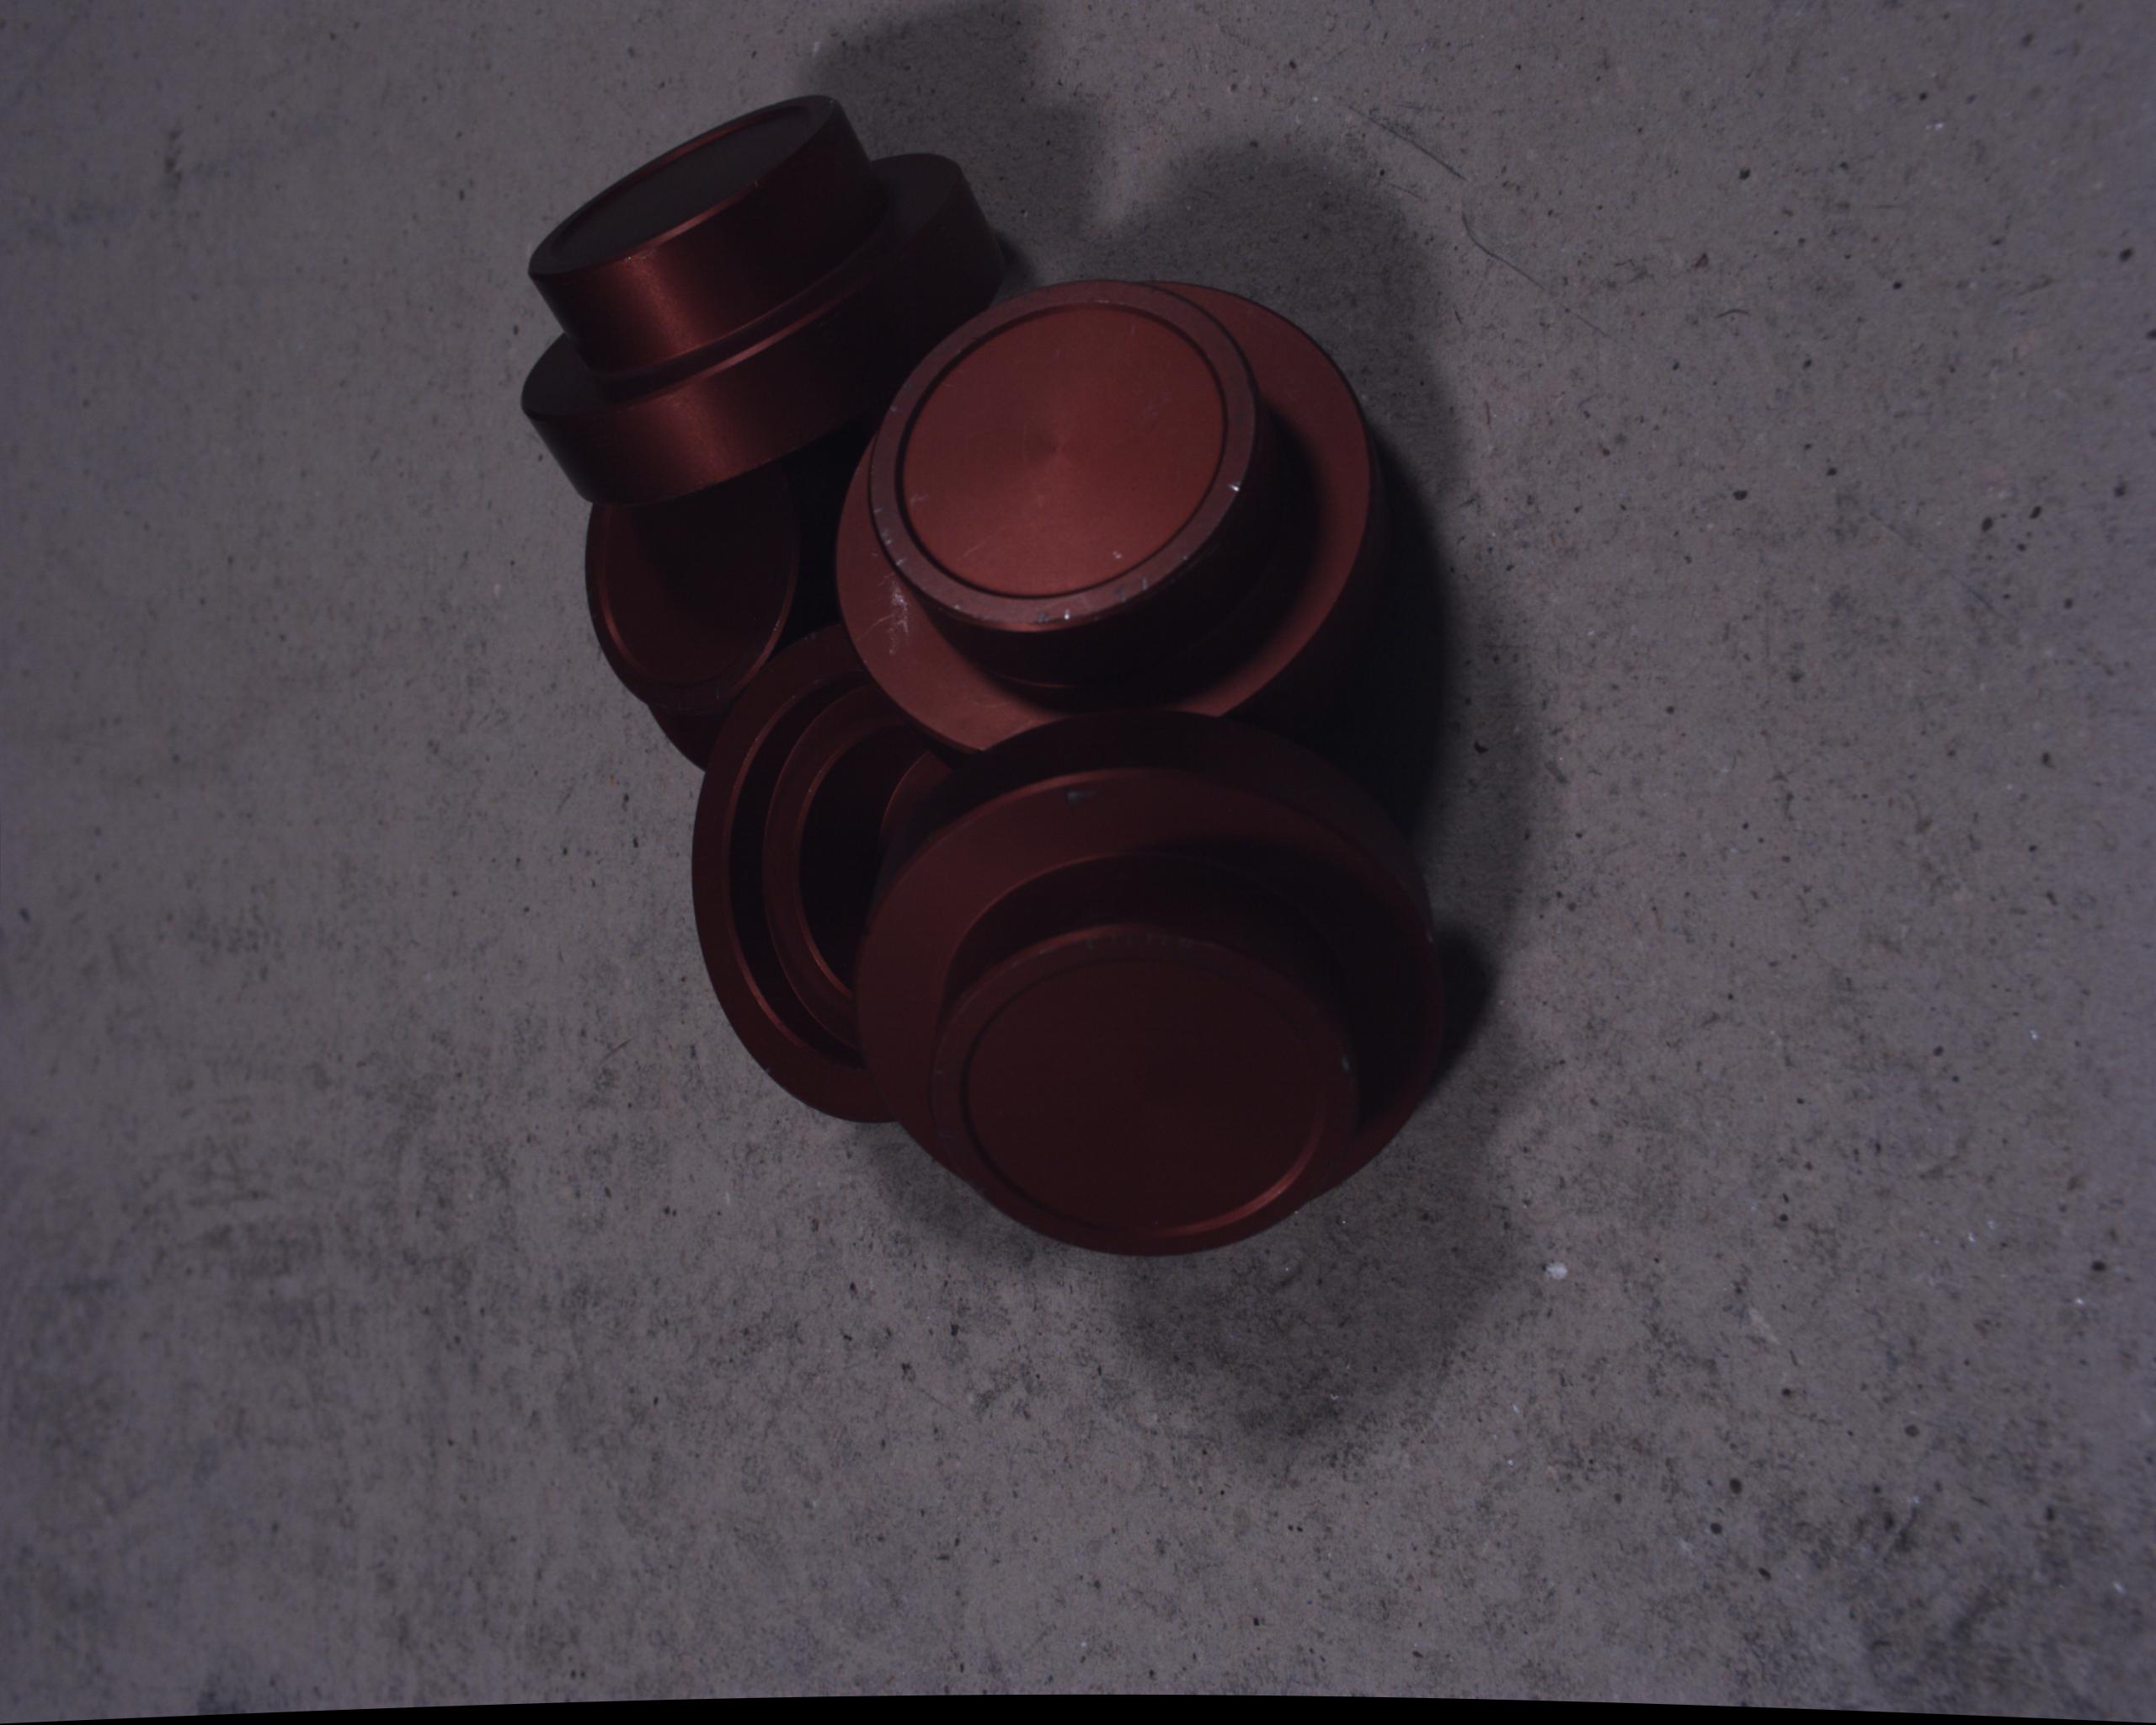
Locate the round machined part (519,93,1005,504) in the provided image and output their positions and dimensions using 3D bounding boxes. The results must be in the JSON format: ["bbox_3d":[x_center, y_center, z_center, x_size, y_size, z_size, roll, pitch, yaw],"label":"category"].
[{"bbox_3d":[-0.068,-0.116,0.411,0.098,0.098,0.042,1,133,39],"label":"round machined part"}]

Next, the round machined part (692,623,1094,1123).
[{"bbox_3d":[-0.029,0.001,0.417,0.098,0.042,0.097,0,90,39],"label":"round machined part"}]

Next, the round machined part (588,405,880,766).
[{"bbox_3d":[-0.068,-0.065,0.451,0.098,0.042,0.097,0,90,39],"label":"round machined part"}]

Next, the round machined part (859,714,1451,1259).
[{"bbox_3d":[0.013,0.027,0.347,0.097,0.098,0.042,-50,20,28],"label":"round machined part"}]

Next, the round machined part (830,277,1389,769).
[{"bbox_3d":[0.002,-0.061,0.363,0.098,0.042,0.098,-6,66,14],"label":"round machined part"}]
